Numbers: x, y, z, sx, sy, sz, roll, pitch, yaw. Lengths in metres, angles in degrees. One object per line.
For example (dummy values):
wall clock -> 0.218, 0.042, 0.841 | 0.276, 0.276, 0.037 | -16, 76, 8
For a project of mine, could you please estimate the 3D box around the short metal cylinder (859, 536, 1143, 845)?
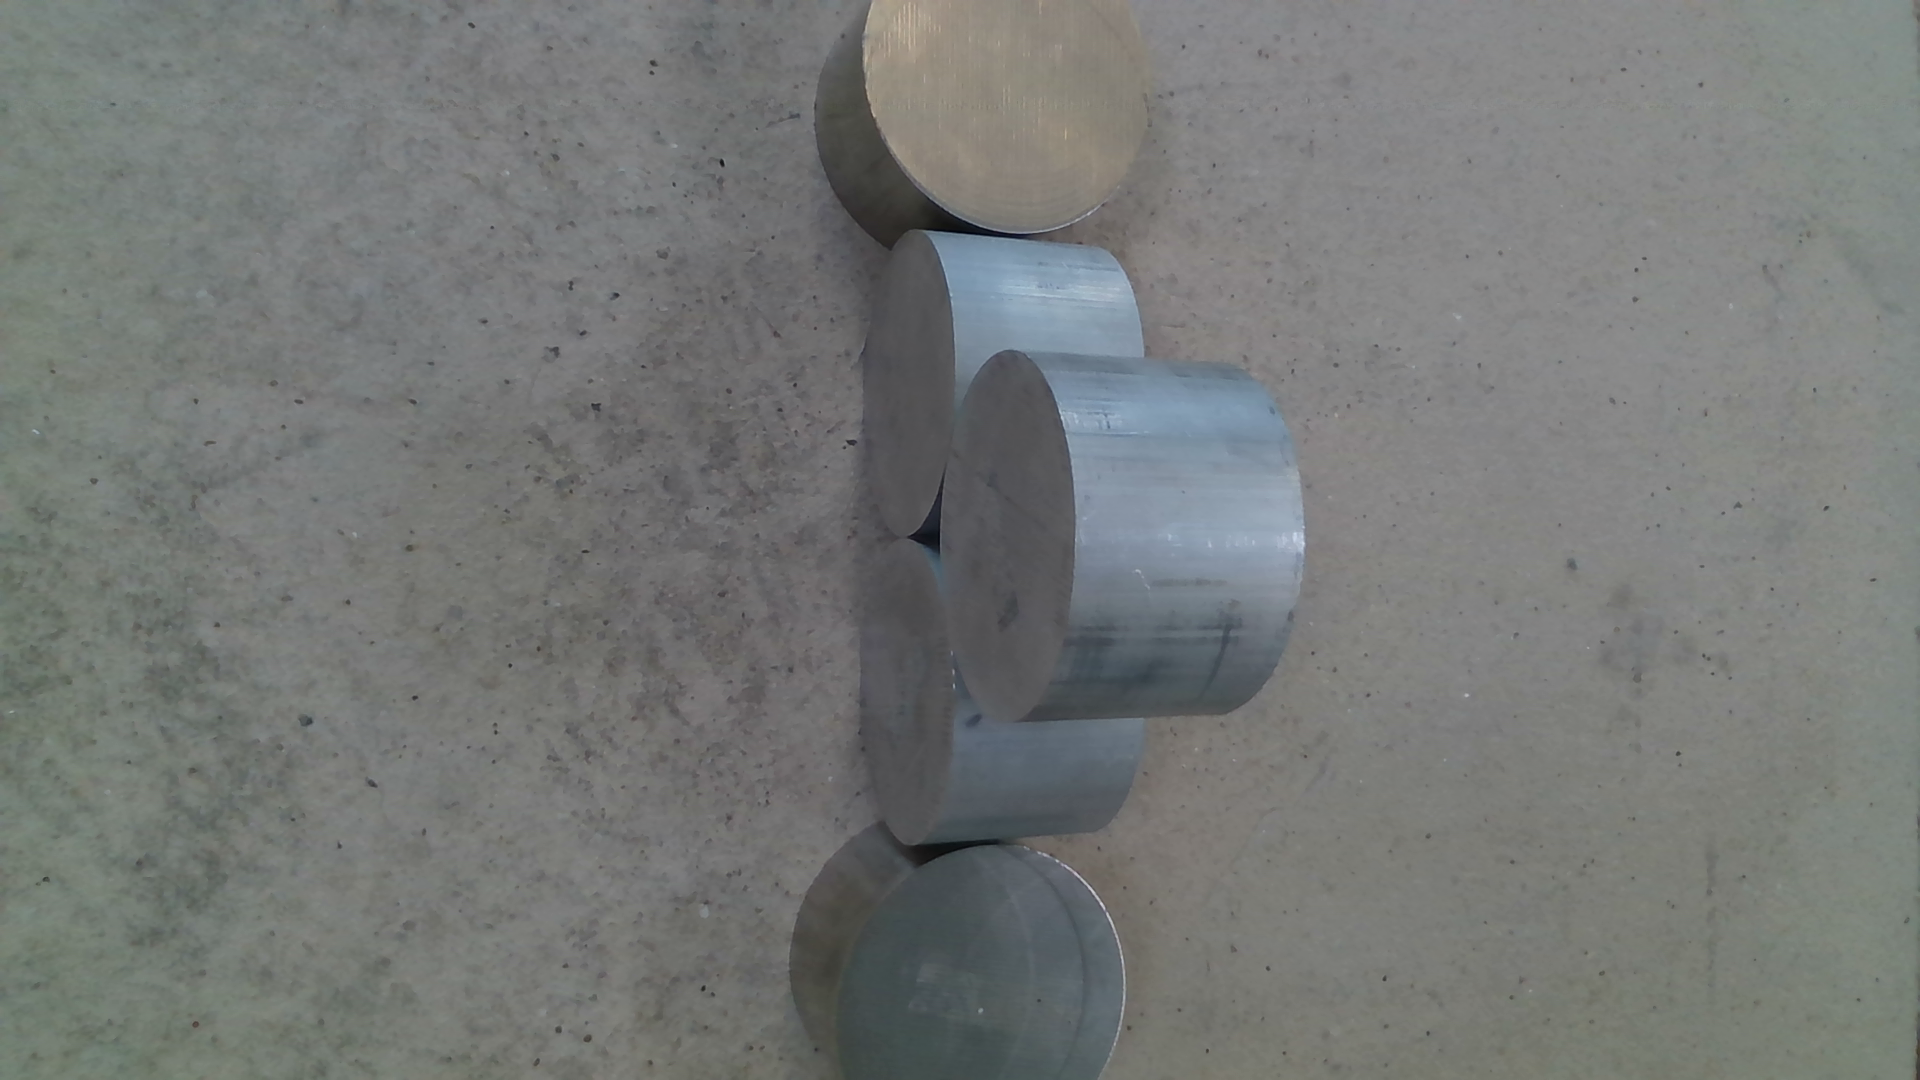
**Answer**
short metal cylinder -> 0.008, 0.039, 0.368 | 0.050, 0.080, 0.080 | 0, 90, -21

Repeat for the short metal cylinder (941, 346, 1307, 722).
short metal cylinder -> 0.032, -0.001, 0.303 | 0.050, 0.080, 0.080 | 1, 90, -19

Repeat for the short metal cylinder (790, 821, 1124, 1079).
short metal cylinder -> -0.002, 0.119, 0.380 | 0.080, 0.050, 0.080 | 0, 90, -20

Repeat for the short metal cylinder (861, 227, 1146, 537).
short metal cylinder -> 0.009, -0.041, 0.368 | 0.050, 0.080, 0.080 | 0, 90, -20

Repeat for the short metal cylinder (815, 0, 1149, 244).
short metal cylinder -> 0.005, -0.121, 0.382 | 0.080, 0.050, 0.080 | 0, 90, -20
